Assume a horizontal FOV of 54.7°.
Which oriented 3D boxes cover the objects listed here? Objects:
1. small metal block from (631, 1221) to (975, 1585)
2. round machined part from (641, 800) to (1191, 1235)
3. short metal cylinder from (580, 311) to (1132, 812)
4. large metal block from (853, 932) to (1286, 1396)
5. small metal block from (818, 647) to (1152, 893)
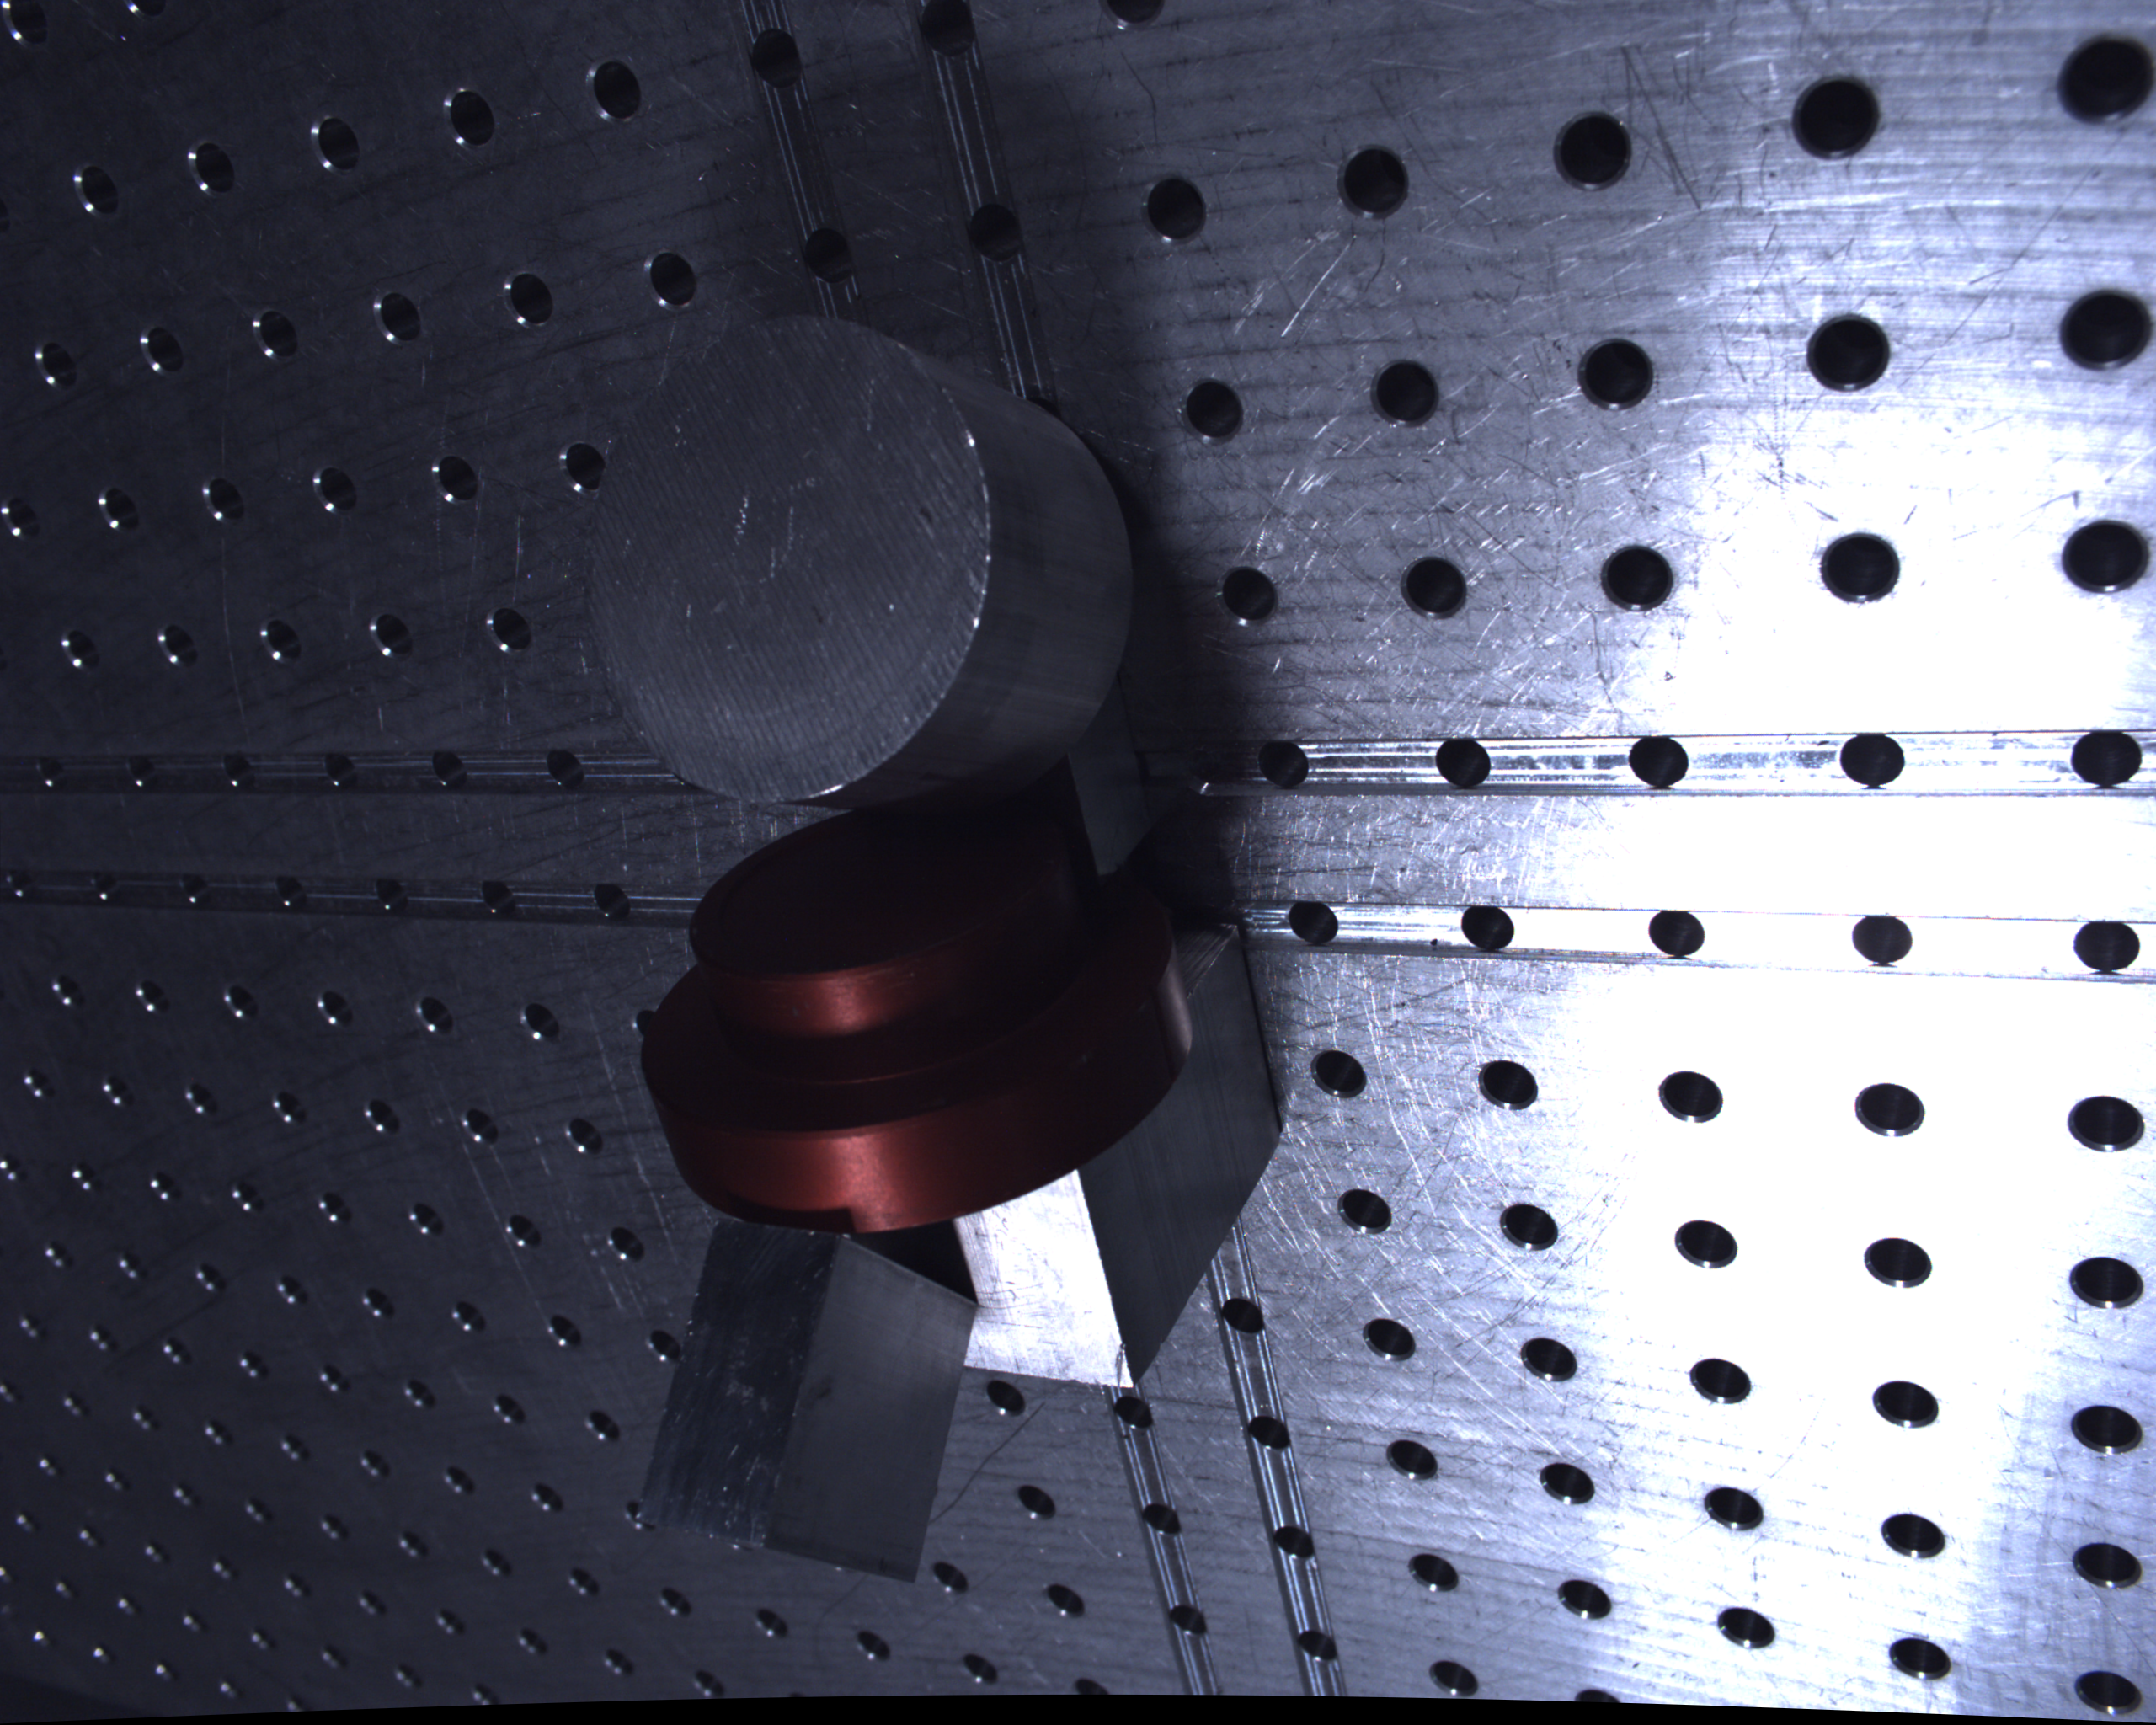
[{"bbox_3d":[-0.045,0.093,0.358,0.025,0.050,0.050,1,157,27],"label":"small metal block"},{"bbox_3d":[-0.032,0.021,0.379,0.098,0.098,0.042,1,119,27],"label":"round machined part"},{"bbox_3d":[-0.038,-0.049,0.361,0.080,0.050,0.080,-1,88,27],"label":"short metal cylinder"},{"bbox_3d":[-0.014,0.054,0.414,0.080,0.080,0.050,1,119,27],"label":"large metal block"},{"bbox_3d":[-0.018,-0.022,0.404,0.050,0.025,0.050,1,119,27],"label":"small metal block"}]
